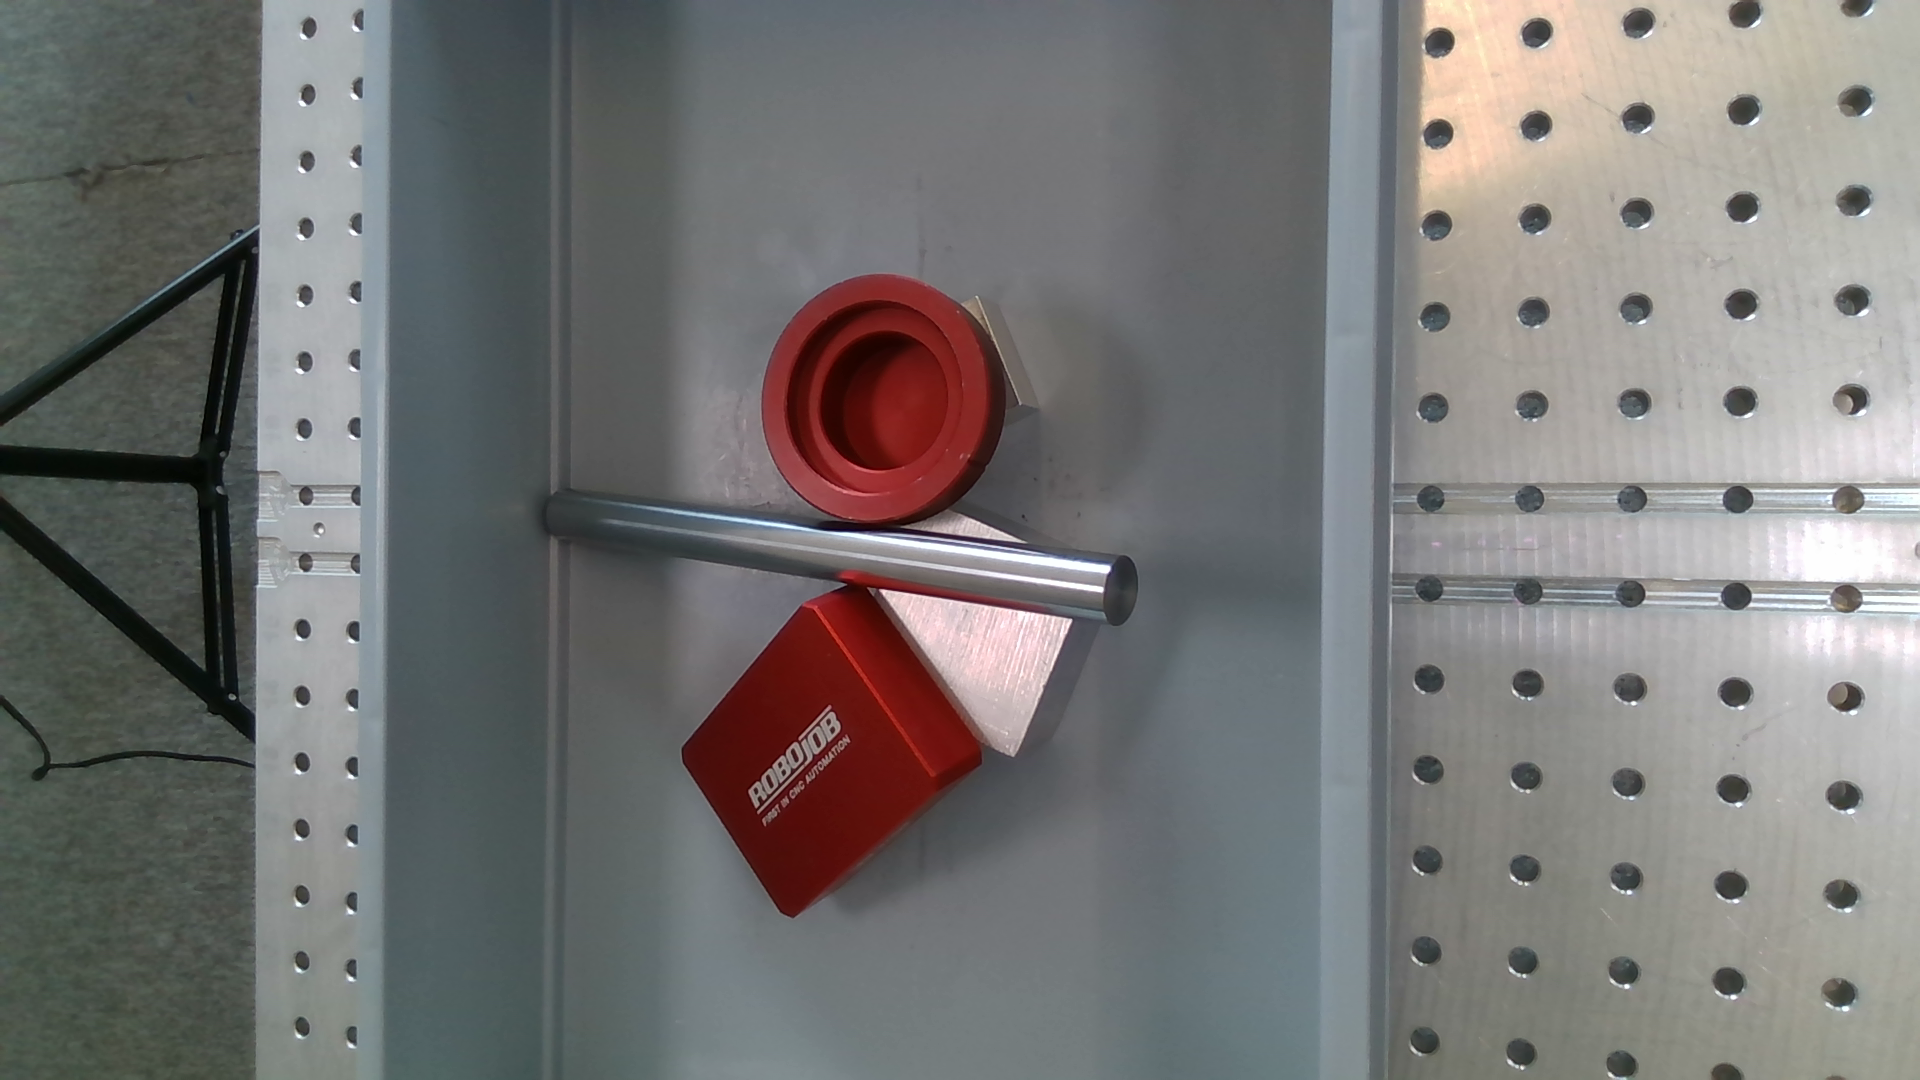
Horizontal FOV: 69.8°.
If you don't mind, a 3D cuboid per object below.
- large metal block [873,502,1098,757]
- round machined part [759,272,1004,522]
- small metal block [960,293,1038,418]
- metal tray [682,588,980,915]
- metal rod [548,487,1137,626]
[{"bbox_3d":[0.010,0.032,0.569,0.080,0.050,0.080,24,99,18],"label":"large metal block"},{"bbox_3d":[-0.028,-0.055,0.557,0.098,0.042,0.098,-1,87,21],"label":"round machined part"},{"bbox_3d":[-0.001,-0.070,0.585,0.050,0.025,0.050,-24,83,19],"label":"small metal block"},{"bbox_3d":[-0.058,0.090,0.578,0.090,0.030,0.130,53,131,13],"label":"metal tray"},{"bbox_3d":[-0.065,0.002,0.566,0.300,0.025,0.025,7,93,36],"label":"metal rod"}]
